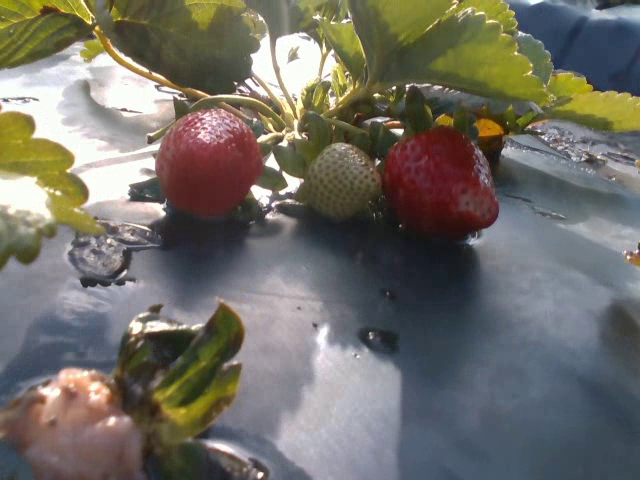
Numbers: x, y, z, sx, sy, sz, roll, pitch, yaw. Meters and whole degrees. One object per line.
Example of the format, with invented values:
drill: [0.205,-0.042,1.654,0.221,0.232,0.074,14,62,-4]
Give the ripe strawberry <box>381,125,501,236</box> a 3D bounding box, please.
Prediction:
ripe strawberry: [0.050,-0.021,0.233,0.048,0.050,0.065,-35,39,7]
